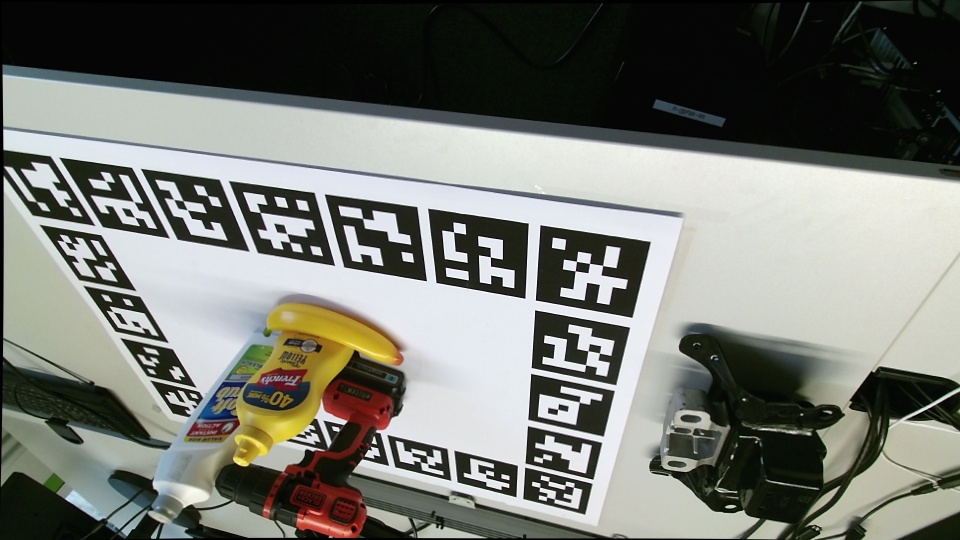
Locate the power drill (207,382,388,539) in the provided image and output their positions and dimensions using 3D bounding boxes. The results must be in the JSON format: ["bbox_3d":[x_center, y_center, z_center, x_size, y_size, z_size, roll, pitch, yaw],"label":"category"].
[{"bbox_3d":[-0.212,0.232,0.675,0.185,0.186,0.057,19,132,5],"label":"power drill"}]

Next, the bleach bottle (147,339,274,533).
[{"bbox_3d":[-0.321,0.207,0.686,0.103,0.250,0.068,11,136,10],"label":"bleach bottle"}]

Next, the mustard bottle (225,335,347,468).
[{"bbox_3d":[-0.246,0.158,0.653,0.096,0.191,0.058,10,130,12],"label":"mustard bottle"}]

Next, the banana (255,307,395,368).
[{"bbox_3d":[-0.205,0.087,0.695,0.198,0.039,0.074,11,129,7],"label":"banana"}]
